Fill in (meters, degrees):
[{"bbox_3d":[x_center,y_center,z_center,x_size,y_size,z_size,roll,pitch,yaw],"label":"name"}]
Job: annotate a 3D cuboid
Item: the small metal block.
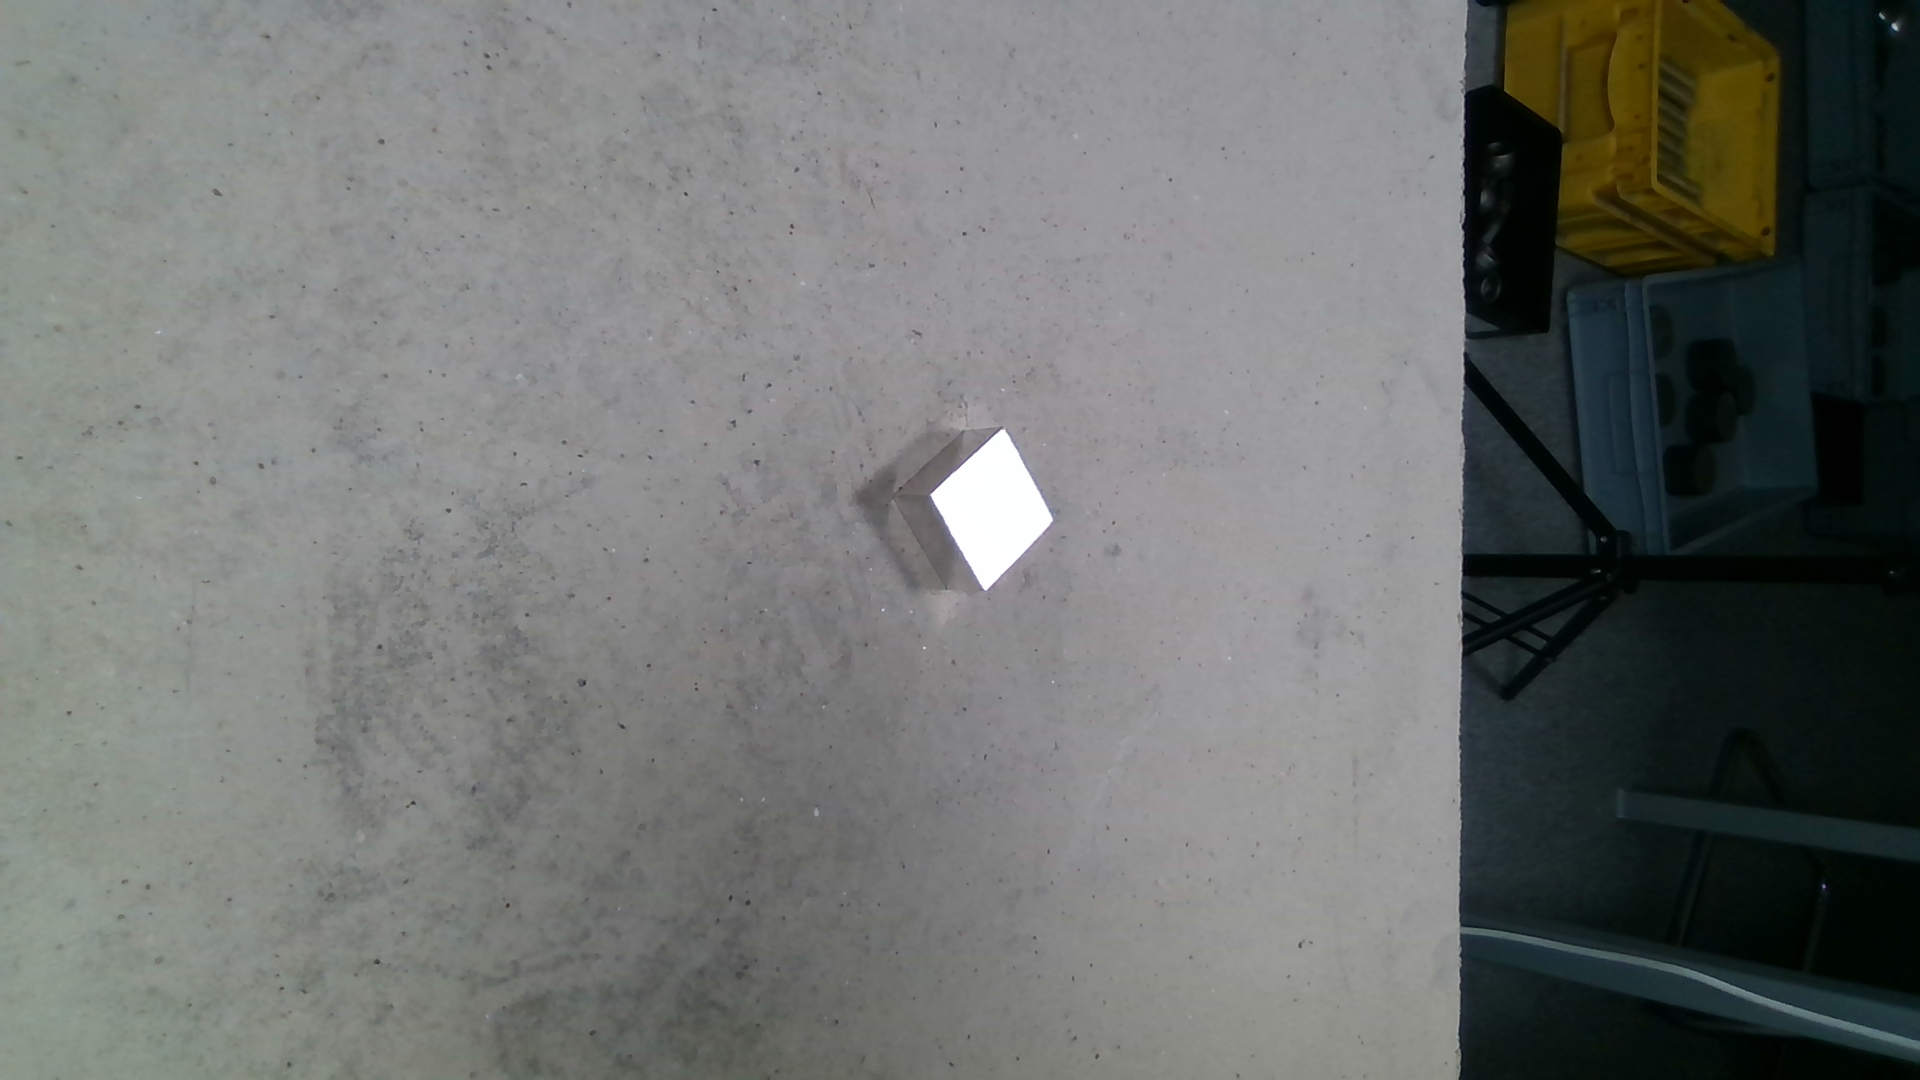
[{"bbox_3d":[0.006,-0.013,0.588,0.050,0.025,0.050,-44,117,-31],"label":"small metal block"}]
